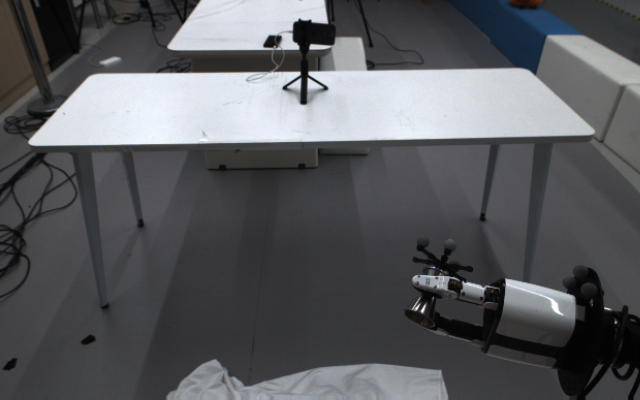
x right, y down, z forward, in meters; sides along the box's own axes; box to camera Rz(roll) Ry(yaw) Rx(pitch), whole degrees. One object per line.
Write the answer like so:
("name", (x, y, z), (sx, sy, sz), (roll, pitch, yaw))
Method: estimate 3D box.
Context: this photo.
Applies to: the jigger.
("jigger", (0.143, 0.123, 0.638), (0.043, 0.043, 0.071), (19, 61, 23))
